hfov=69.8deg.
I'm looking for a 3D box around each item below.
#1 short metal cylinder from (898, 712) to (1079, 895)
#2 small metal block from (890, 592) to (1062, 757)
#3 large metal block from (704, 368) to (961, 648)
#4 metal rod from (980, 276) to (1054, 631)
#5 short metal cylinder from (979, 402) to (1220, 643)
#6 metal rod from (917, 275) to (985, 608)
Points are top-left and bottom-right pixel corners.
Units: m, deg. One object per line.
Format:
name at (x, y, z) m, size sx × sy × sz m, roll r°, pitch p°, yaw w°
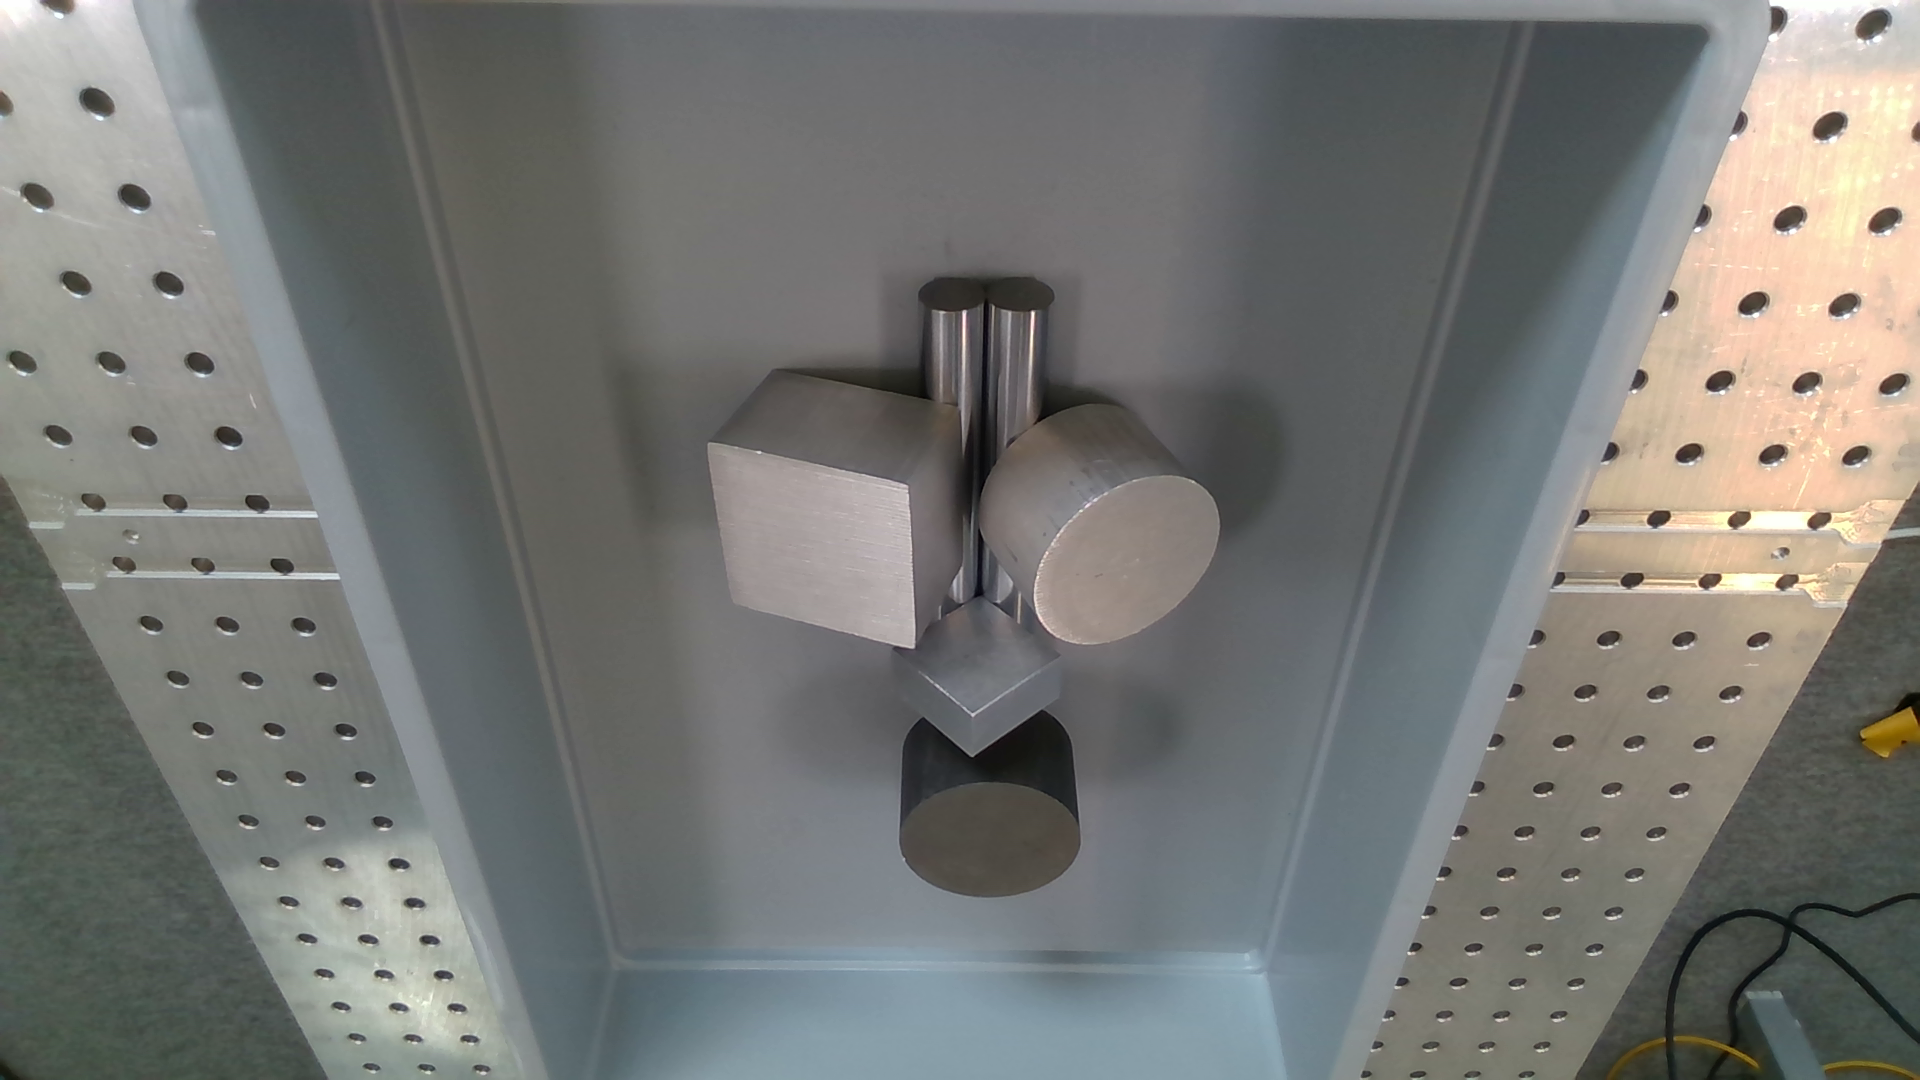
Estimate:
short metal cylinder at (0.013, 0.117, 0.628) m, size 0.080 × 0.050 × 0.080 m, roll 0°, pitch 130°, yaw 0°
small metal block at (0.006, 0.055, 0.572) m, size 0.050 × 0.050 × 0.025 m, roll -30°, pitch 139°, yaw -31°
large metal block at (-0.047, -0.013, 0.534) m, size 0.080 × 0.050 × 0.080 m, roll 13°, pitch 132°, yaw 16°
metal rod at (0.020, 0.025, 0.600) m, size 0.025 × 0.025 × 0.301 m, roll 0°, pitch 130°, yaw 0°
short metal cylinder at (0.054, -0.007, 0.538) m, size 0.080 × 0.050 × 0.080 m, roll -16°, pitch 133°, yaw -18°
metal rod at (-0.005, 0.025, 0.600) m, size 0.025 × 0.025 × 0.301 m, roll 0°, pitch 130°, yaw 0°
